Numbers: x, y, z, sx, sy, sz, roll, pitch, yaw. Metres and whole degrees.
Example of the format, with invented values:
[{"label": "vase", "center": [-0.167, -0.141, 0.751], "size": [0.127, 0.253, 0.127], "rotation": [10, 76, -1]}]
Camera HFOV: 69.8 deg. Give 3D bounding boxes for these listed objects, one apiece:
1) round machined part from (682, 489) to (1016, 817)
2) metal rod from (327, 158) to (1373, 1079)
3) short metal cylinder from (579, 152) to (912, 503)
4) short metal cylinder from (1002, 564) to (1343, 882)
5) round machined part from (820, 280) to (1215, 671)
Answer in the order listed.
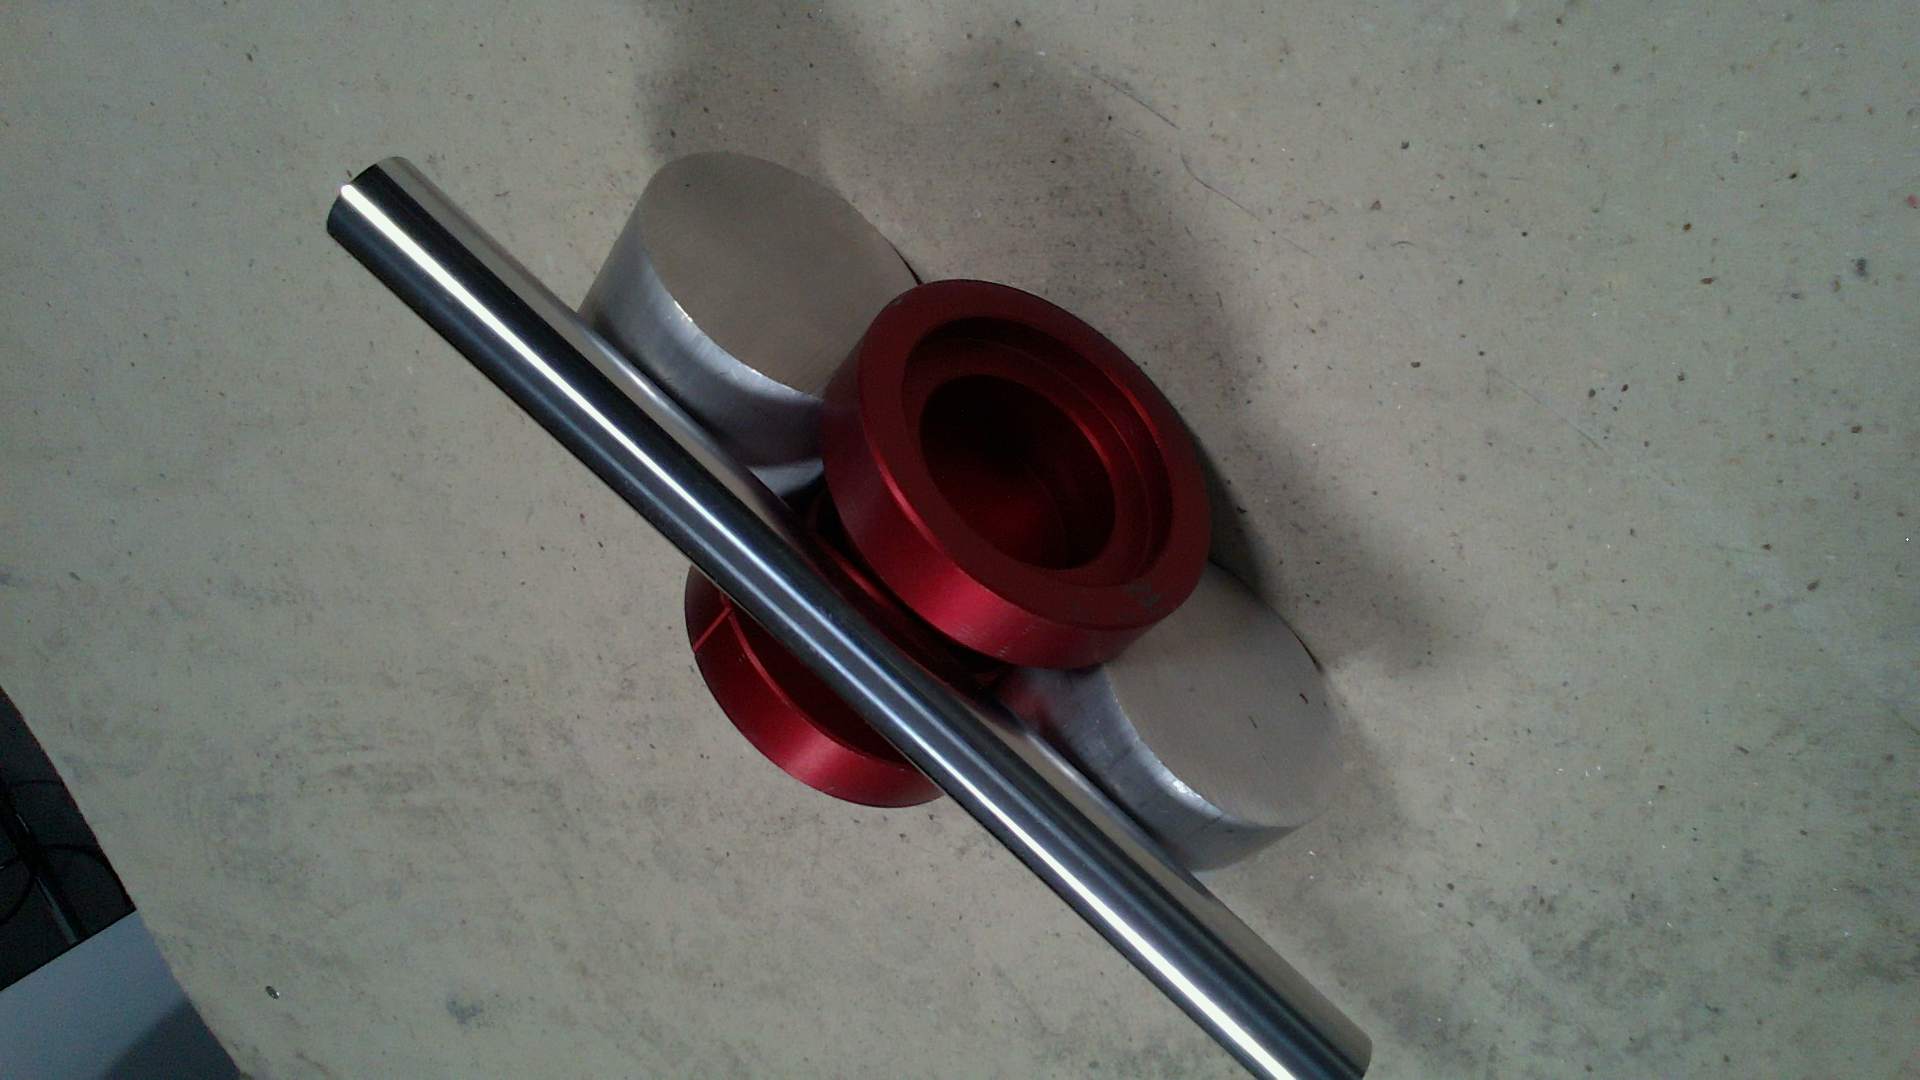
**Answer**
[{"label": "round machined part", "center": [-0.021, 0.020, 0.368], "size": [0.098, 0.098, 0.042], "rotation": [43, 125, -2]}, {"label": "metal rod", "center": [-0.024, 0.024, 0.317], "size": [0.300, 0.025, 0.025], "rotation": [42, 129, -1]}, {"label": "short metal cylinder", "center": [-0.055, -0.052, 0.354], "size": [0.080, 0.080, 0.050], "rotation": [43, 129, -2]}, {"label": "short metal cylinder", "center": [0.052, 0.049, 0.359], "size": [0.080, 0.080, 0.050], "rotation": [43, 129, -2]}, {"label": "round machined part", "center": [0.010, -0.012, 0.333], "size": [0.098, 0.098, 0.042], "rotation": [43, 134, -2]}]
